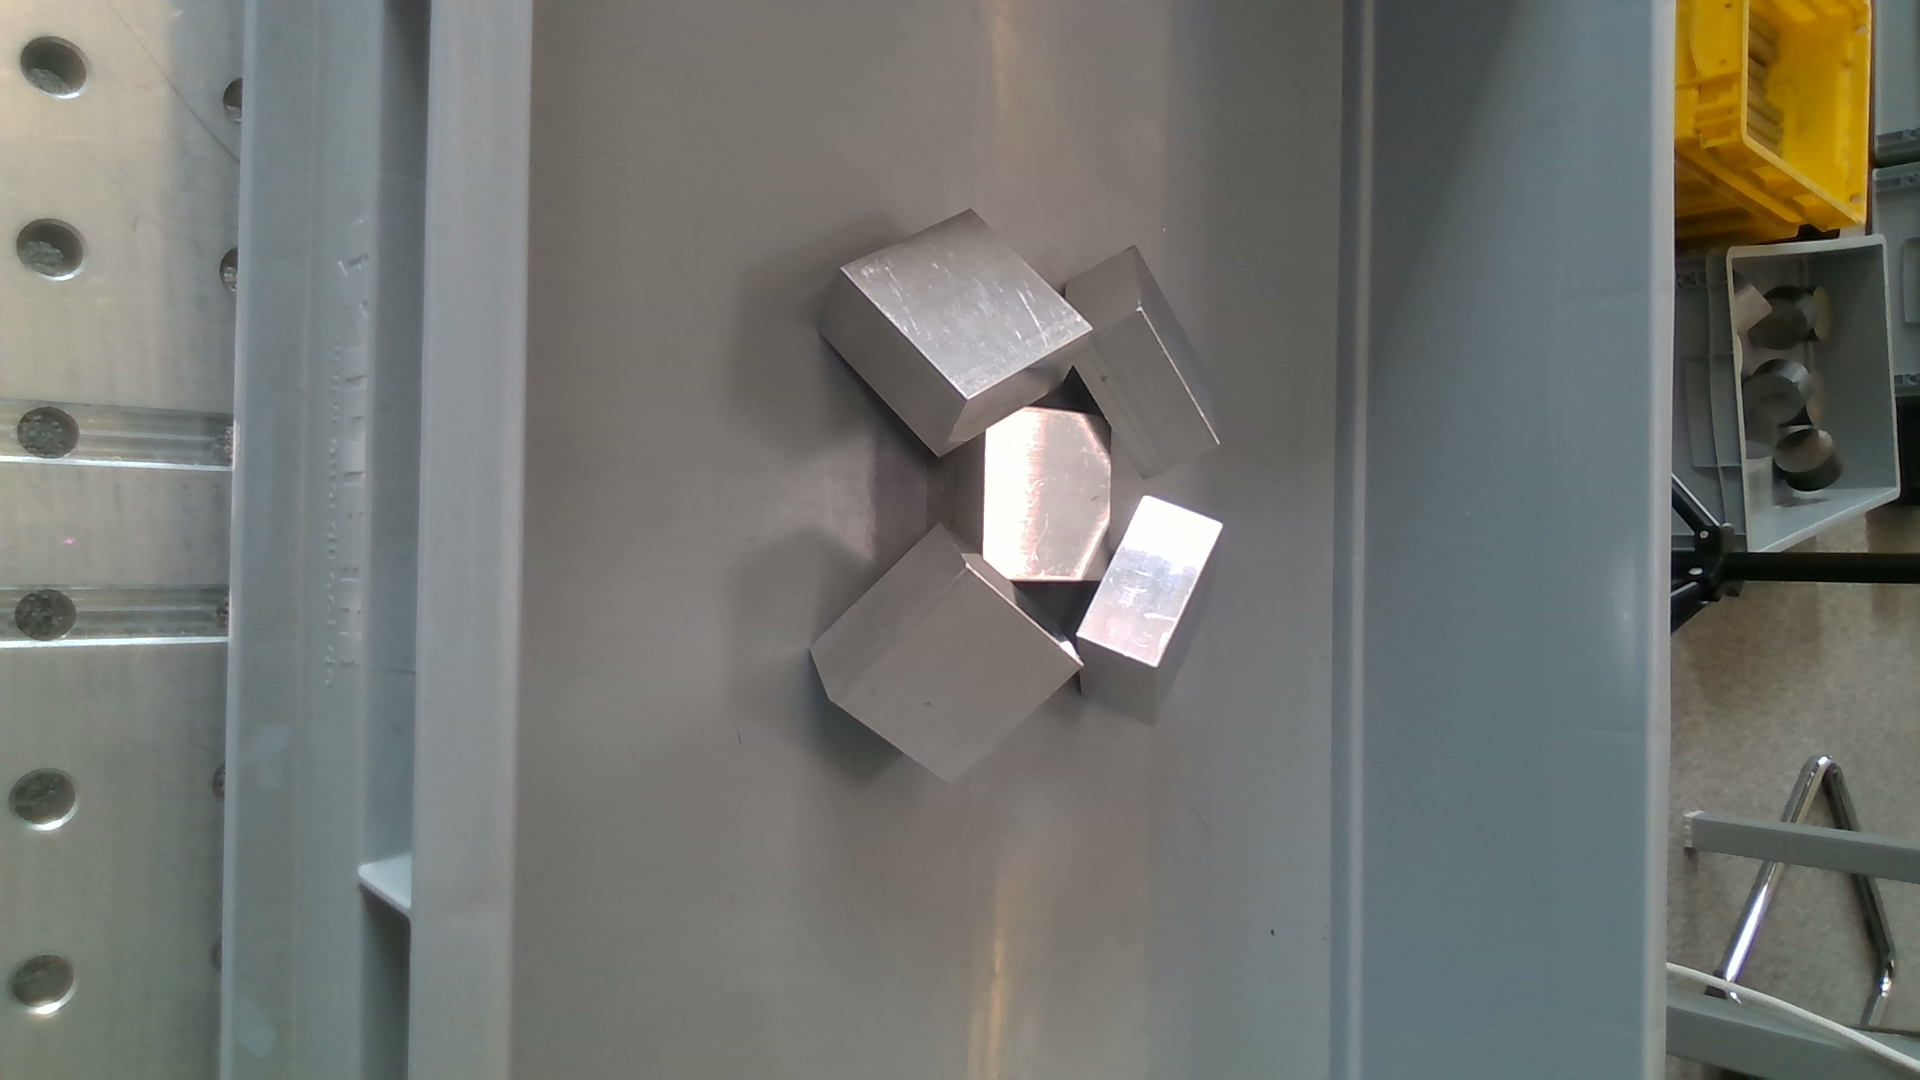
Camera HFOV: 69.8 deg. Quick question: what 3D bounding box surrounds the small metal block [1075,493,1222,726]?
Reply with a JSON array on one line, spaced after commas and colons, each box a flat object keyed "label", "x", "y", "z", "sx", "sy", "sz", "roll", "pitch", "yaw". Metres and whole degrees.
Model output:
[{"label": "small metal block", "x": 0.058, "y": 0.022, "z": 0.422, "sx": 0.050, "sy": 0.025, "sz": 0.050, "roll": -62, "pitch": 162, "yaw": -21}]

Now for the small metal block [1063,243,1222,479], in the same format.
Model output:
[{"label": "small metal block", "x": 0.055, "y": -0.055, "z": 0.419, "sx": 0.050, "sy": 0.025, "sz": 0.050, "roll": 54, "pitch": 21, "yaw": -25}]

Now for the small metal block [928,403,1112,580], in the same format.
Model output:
[{"label": "small metal block", "x": 0.018, "y": -0.014, "z": 0.404, "sx": 0.050, "sy": 0.025, "sz": 0.050, "roll": 2, "pitch": 89, "yaw": -40}]

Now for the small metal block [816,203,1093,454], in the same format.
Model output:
[{"label": "small metal block", "x": -0.002, "y": -0.058, "z": 0.373, "sx": 0.050, "sy": 0.025, "sz": 0.050, "roll": -33, "pitch": 73, "yaw": -35}]

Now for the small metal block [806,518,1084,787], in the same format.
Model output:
[{"label": "small metal block", "x": -0.004, "y": 0.031, "z": 0.371, "sx": 0.050, "sy": 0.025, "sz": 0.050, "roll": -44, "pitch": 123, "yaw": 8}]
